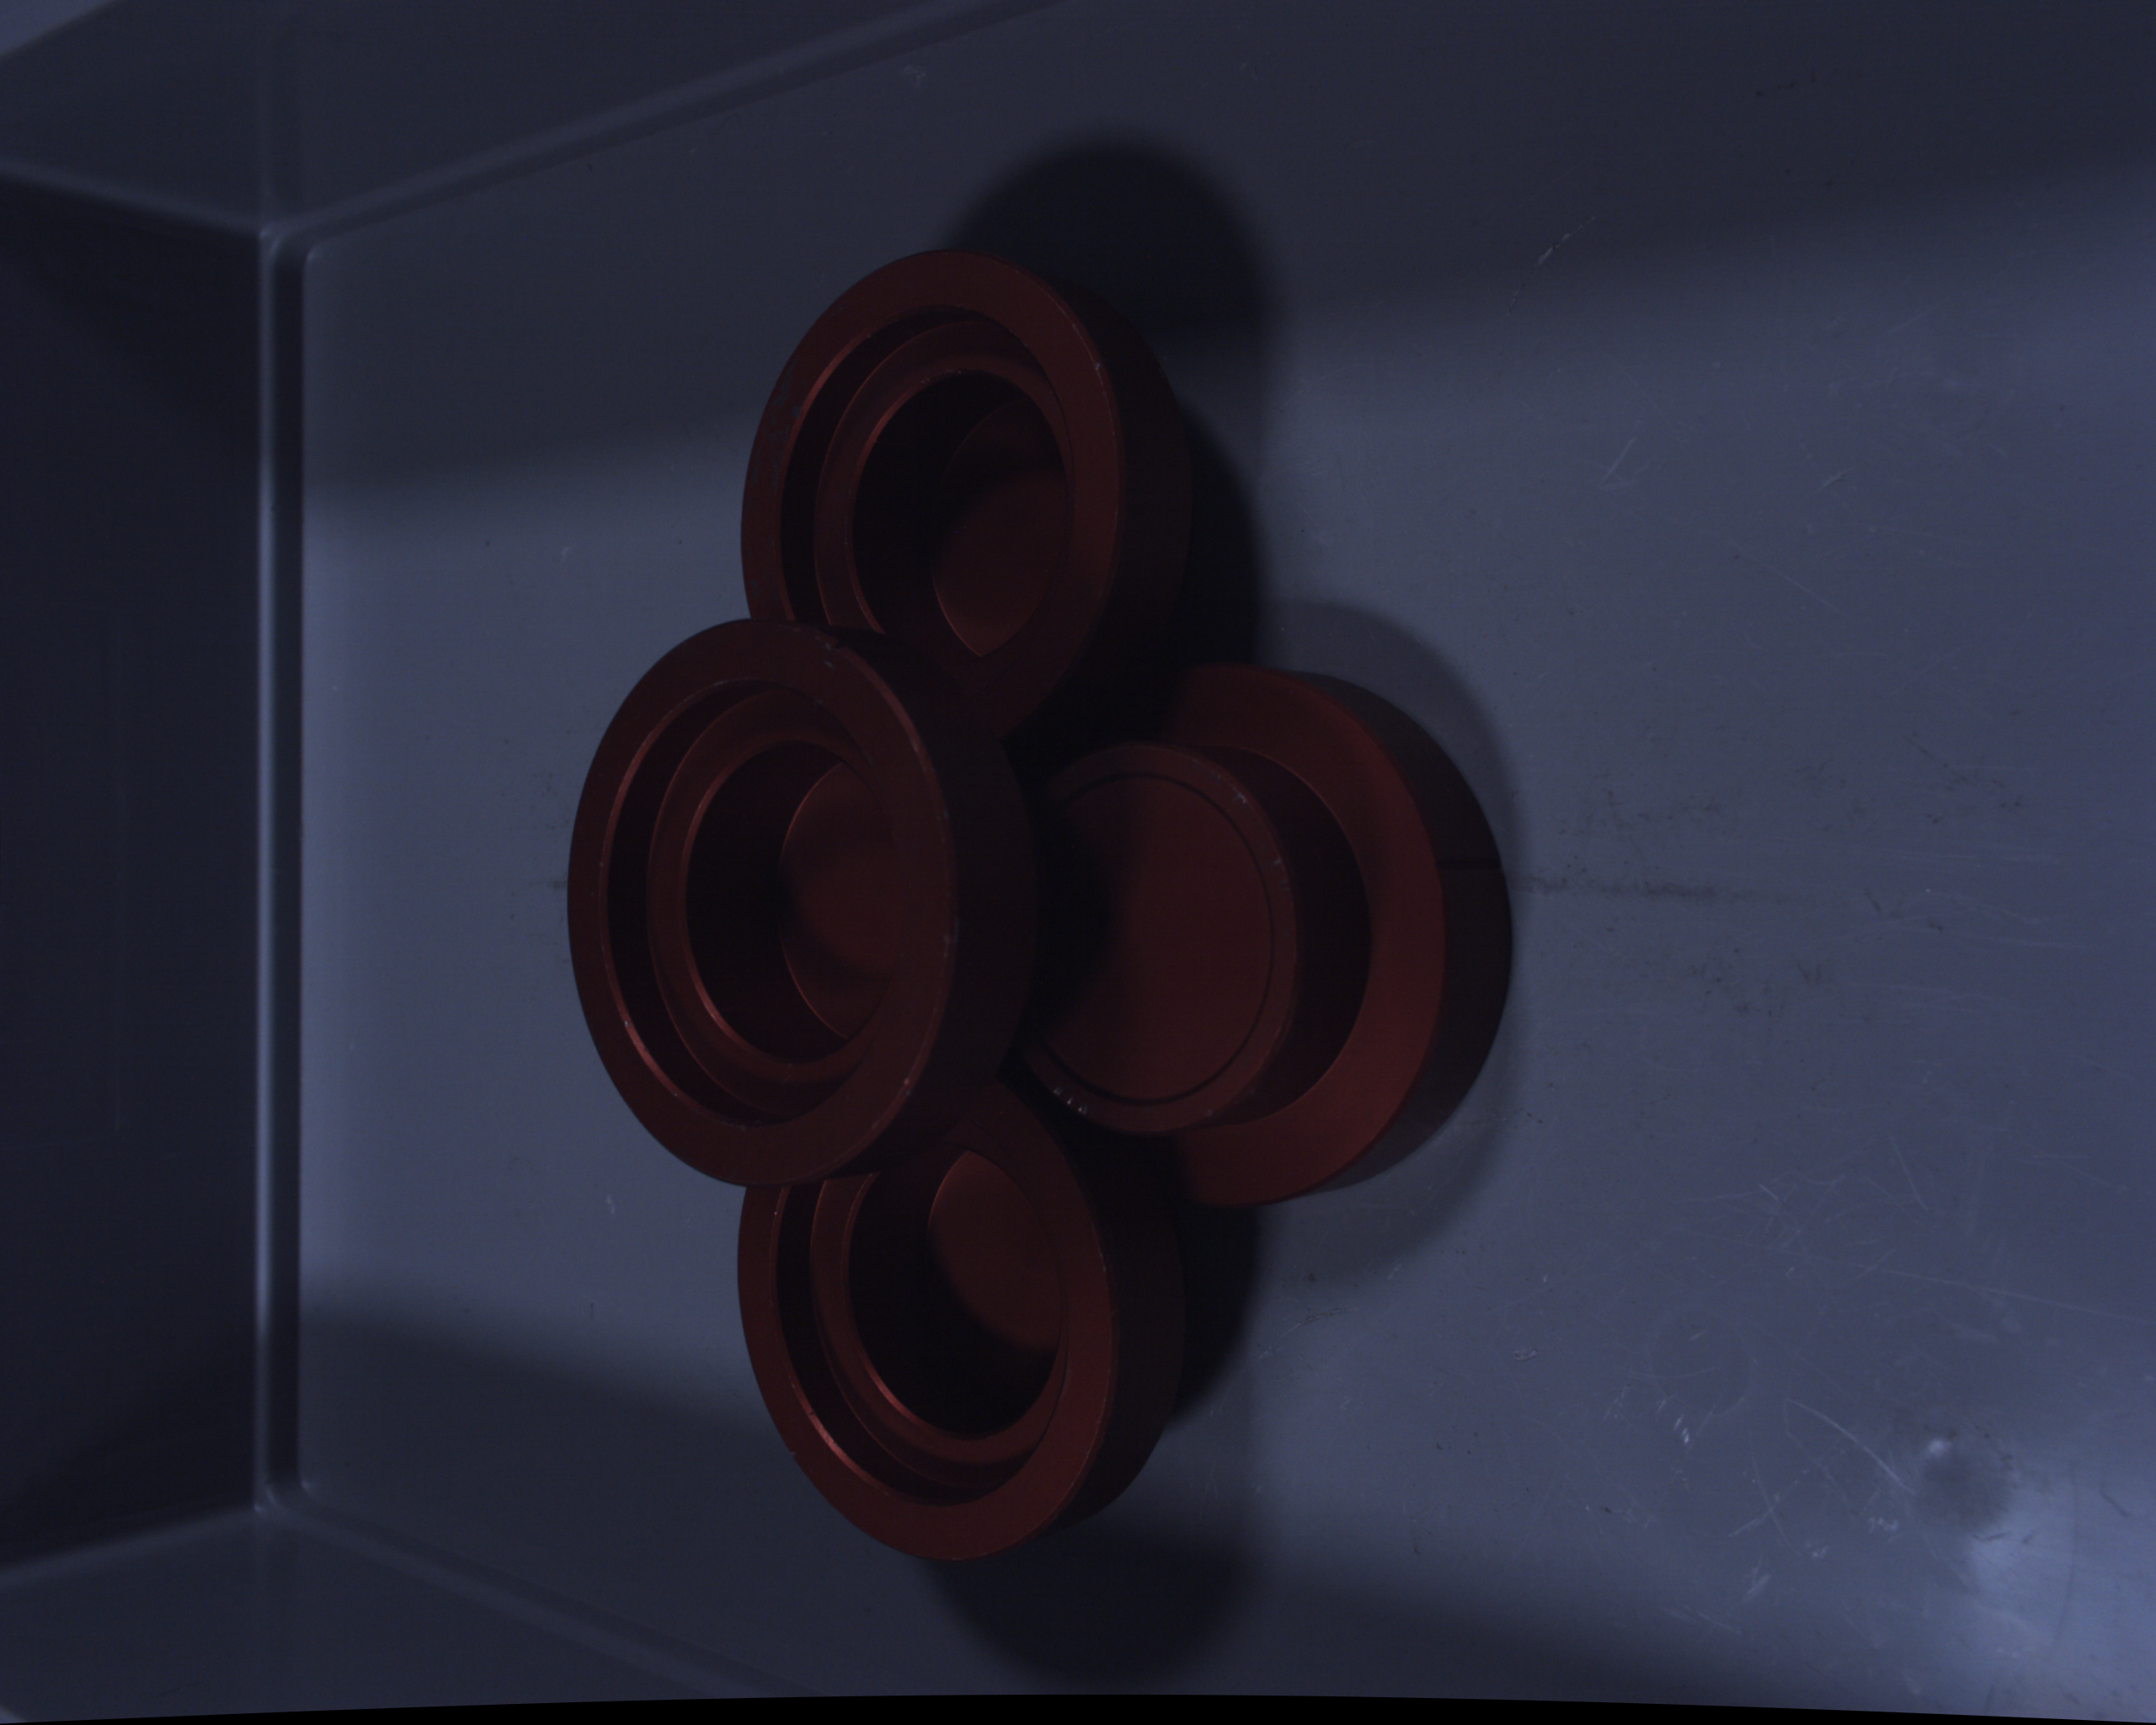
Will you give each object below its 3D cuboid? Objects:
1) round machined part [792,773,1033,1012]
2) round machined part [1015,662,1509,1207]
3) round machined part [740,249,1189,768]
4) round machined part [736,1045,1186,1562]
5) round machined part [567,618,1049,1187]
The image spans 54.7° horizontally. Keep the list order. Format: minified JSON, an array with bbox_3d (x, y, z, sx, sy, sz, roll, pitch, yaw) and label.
[{"bbox_3d":[-0.053,0.009,0.435,0.098,0.042,0.097,0,90,39],"label":"round machined part"},{"bbox_3d":[0.023,0.013,0.372,0.098,0.042,0.097,0,90,39],"label":"round machined part"},{"bbox_3d":[-0.017,-0.065,0.405,0.098,0.042,0.097,0,90,39],"label":"round machined part"},{"bbox_3d":[-0.018,0.081,0.406,0.098,0.042,0.097,0,90,39],"label":"round machined part"},{"bbox_3d":[-0.044,0.007,0.373,0.098,0.042,0.097,0,90,39],"label":"round machined part"}]
